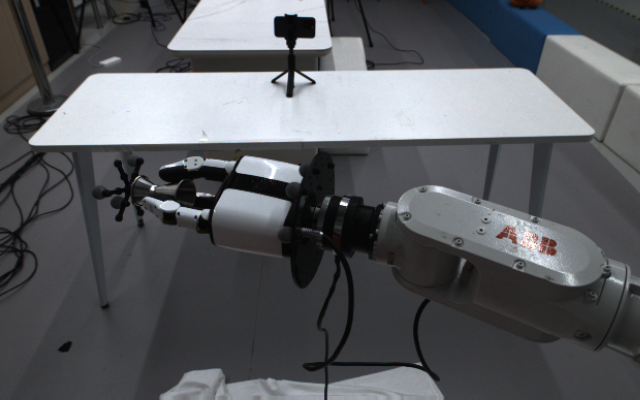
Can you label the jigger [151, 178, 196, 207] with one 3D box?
[{"bbox_3d":[-0.188,-0.015,0.610,0.071,0.043,0.043,5,34,18],"label":"jigger"}]
